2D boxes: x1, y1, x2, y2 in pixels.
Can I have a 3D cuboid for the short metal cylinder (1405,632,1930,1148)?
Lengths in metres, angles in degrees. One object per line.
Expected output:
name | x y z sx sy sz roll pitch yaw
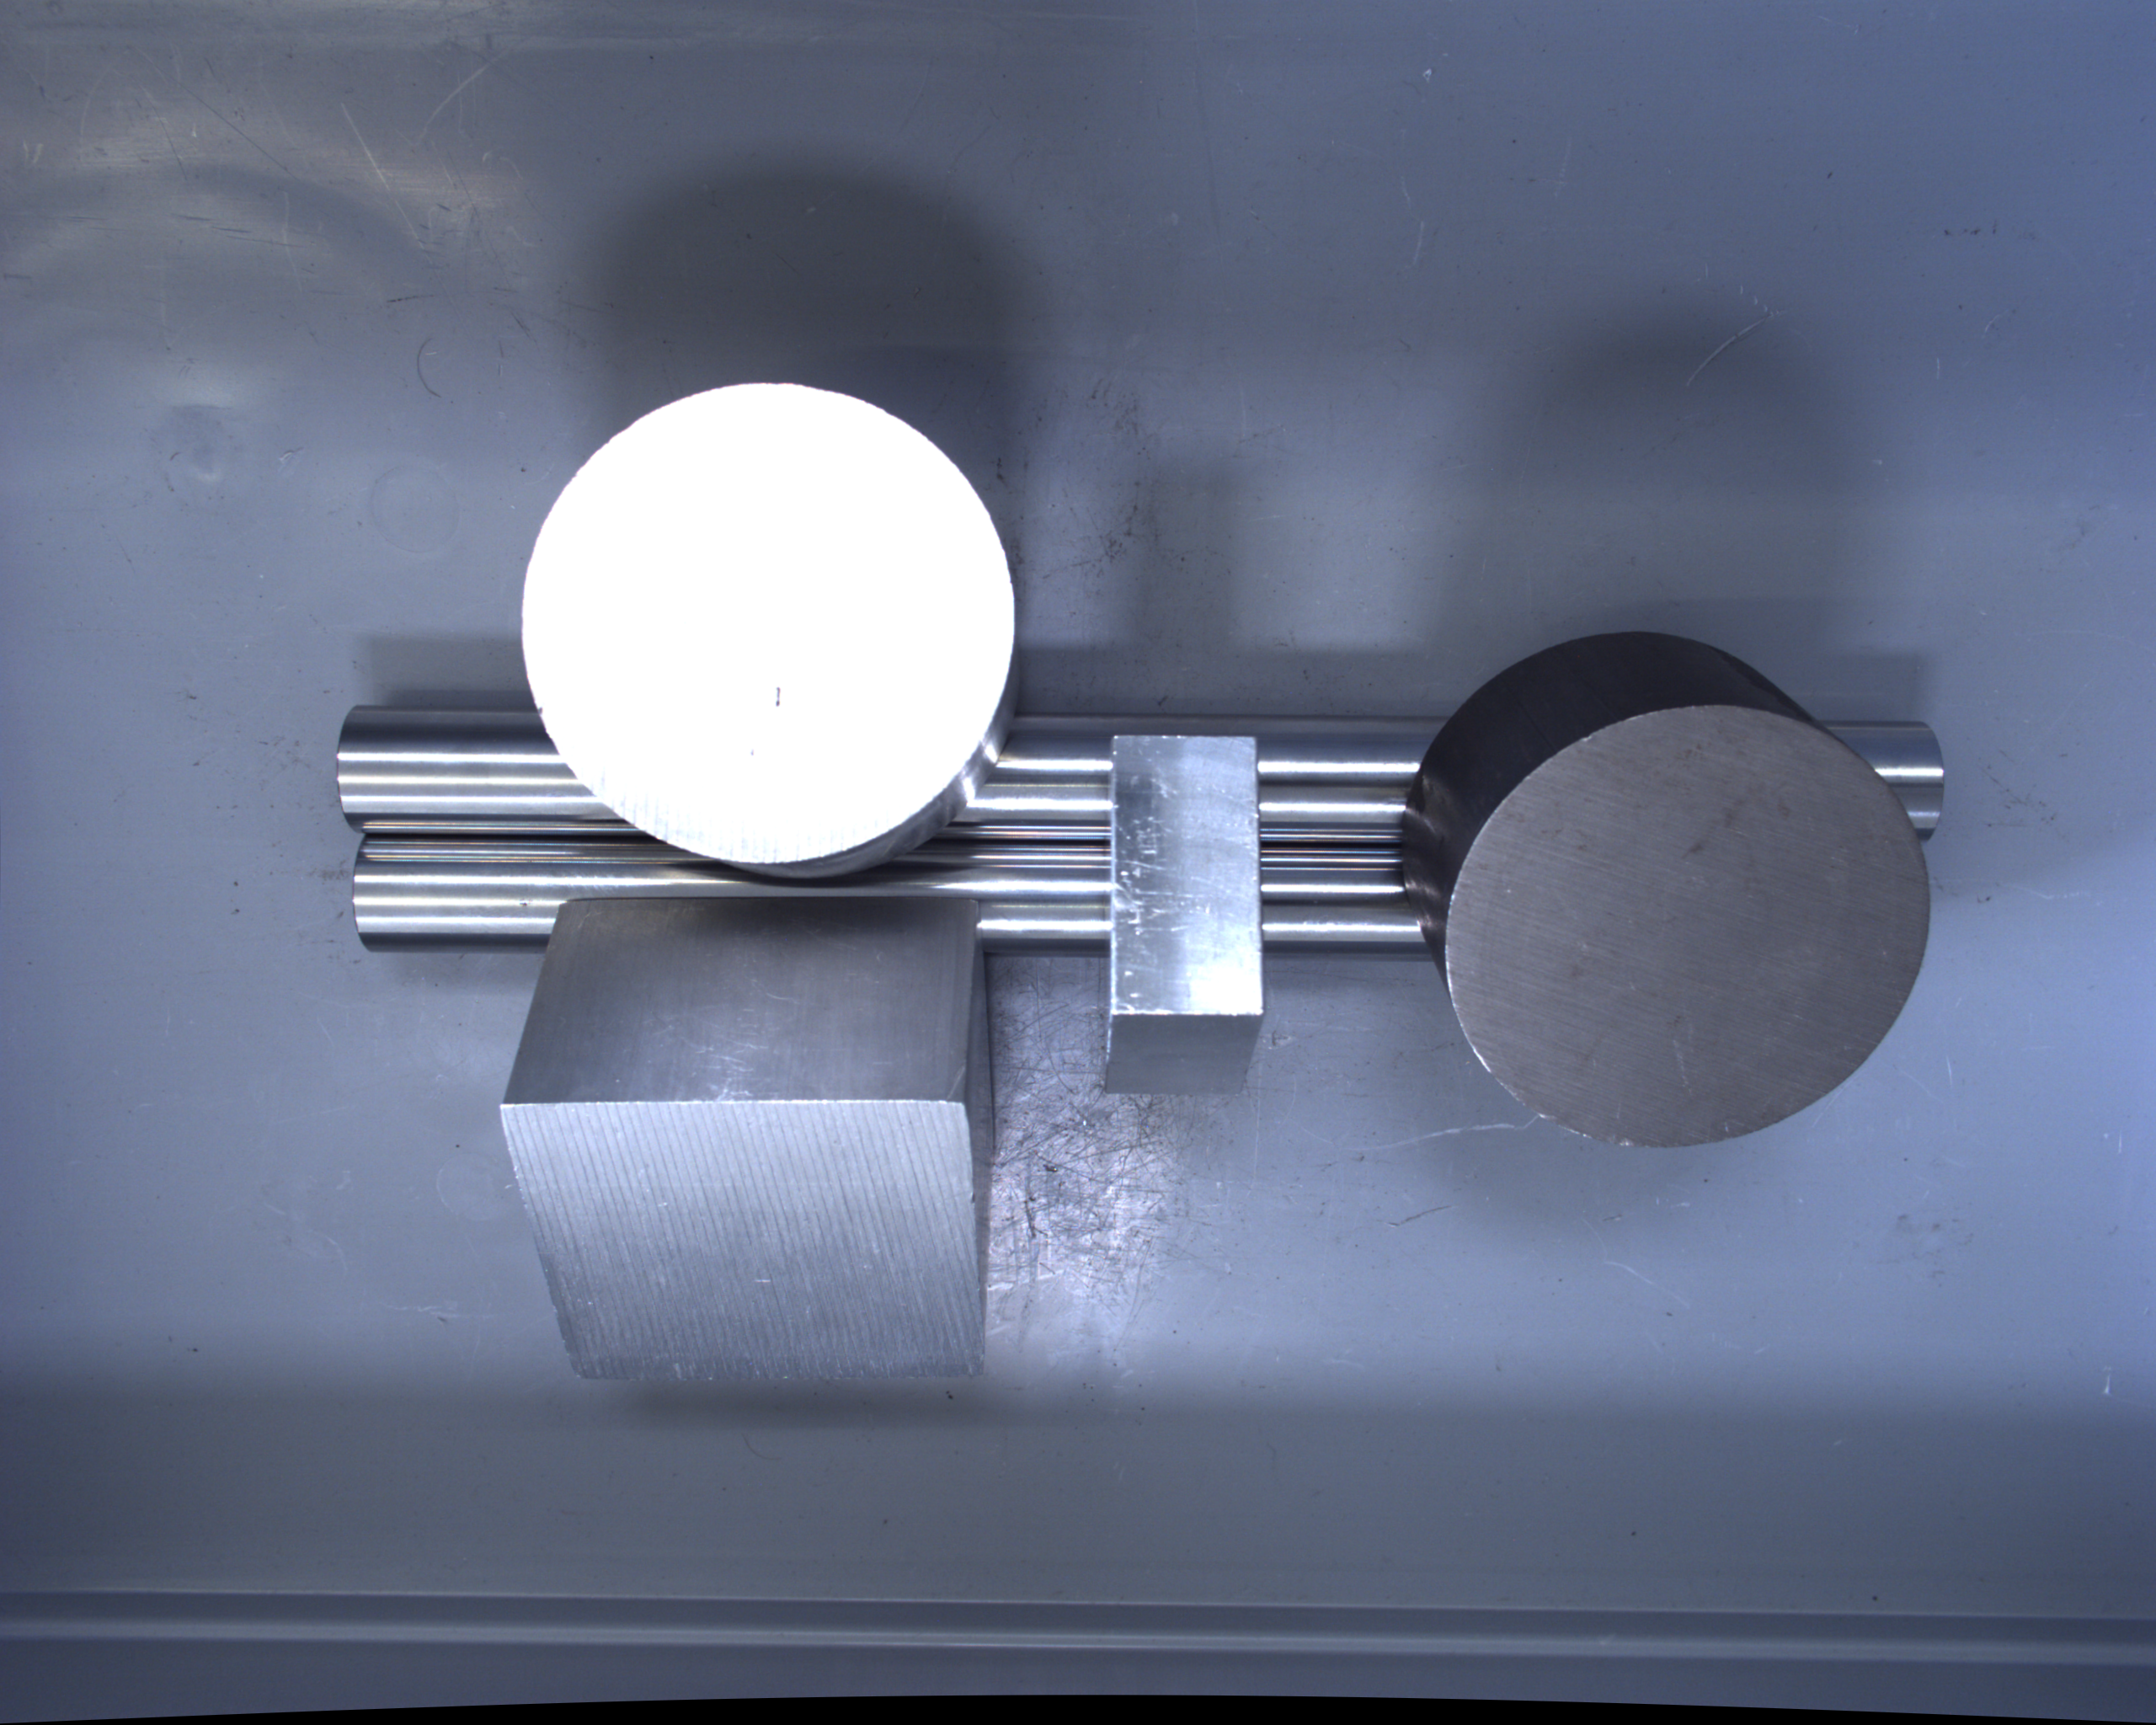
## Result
short metal cylinder | 0.102 0.004 0.372 0.081 0.050 0.079 0 110 0

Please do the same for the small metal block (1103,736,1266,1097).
small metal block | 0.018 0.011 0.370 0.025 0.050 0.050 1 68 -1

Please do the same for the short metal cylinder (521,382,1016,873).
short metal cylinder | -0.051 -0.038 0.366 0.081 0.050 0.080 0 86 -1

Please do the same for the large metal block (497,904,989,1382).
large metal block | -0.059 0.055 0.401 0.081 0.050 0.079 -1 130 0

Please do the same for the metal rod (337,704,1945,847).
metal rod | 0.013 -0.017 0.404 0.302 0.025 0.025 1 110 -1

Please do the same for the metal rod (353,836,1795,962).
metal rod | 0.012 0.007 0.412 0.302 0.025 0.025 1 110 -1
